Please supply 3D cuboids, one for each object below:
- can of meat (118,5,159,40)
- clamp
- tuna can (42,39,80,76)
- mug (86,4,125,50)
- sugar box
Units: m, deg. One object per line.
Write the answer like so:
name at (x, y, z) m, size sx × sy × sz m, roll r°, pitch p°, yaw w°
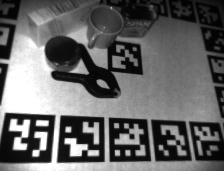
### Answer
can of meat at (0.068, -0.173, 0.608) m, size 0.103 × 0.083 × 0.057 m, roll -3°, pitch 69°, yaw -20°
clamp at (-0.050, -0.008, 0.533) m, size 0.165 × 0.036 × 0.122 m, roll 39°, pitch 59°, yaw -5°
tuna can at (-0.124, -0.067, 0.526) m, size 0.086 × 0.033 × 0.085 m, roll 6°, pitch 70°, yaw -15°
mug at (-0.026, -0.136, 0.555) m, size 0.093 × 0.081 × 0.117 m, roll 28°, pitch 66°, yaw -6°
sugar box at (-0.116, -0.156, 0.537) m, size 0.178 × 0.092 × 0.045 m, roll -34°, pitch 80°, yaw -27°
